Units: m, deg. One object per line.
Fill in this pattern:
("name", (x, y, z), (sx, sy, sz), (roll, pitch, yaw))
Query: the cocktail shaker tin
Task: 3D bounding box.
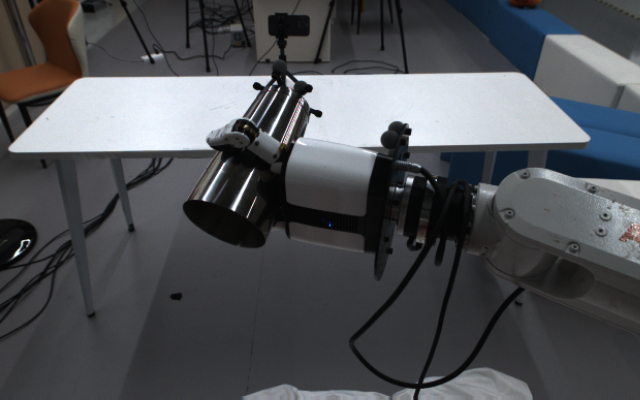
("cocktail shaker tin", (-0.069, -0.042, 0.531), (0.093, 0.093, 0.170), (14, 61, 16))
